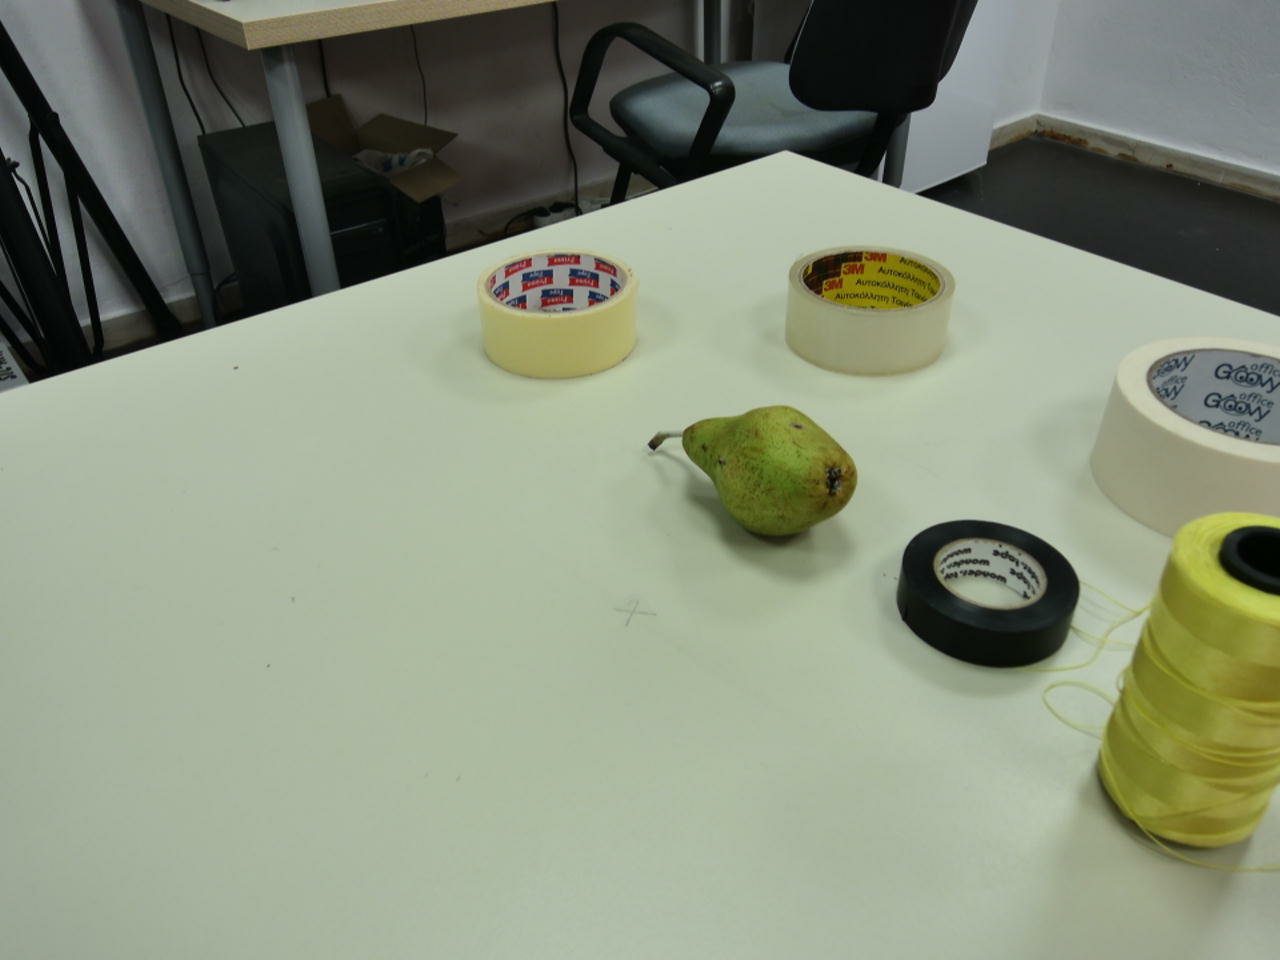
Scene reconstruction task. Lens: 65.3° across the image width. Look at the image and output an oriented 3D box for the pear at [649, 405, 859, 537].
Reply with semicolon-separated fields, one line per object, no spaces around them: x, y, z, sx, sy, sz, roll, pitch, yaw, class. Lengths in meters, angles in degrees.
0.052;-0.014;0.449;0.056;0.056;0.111;-13;37;-18;pear
